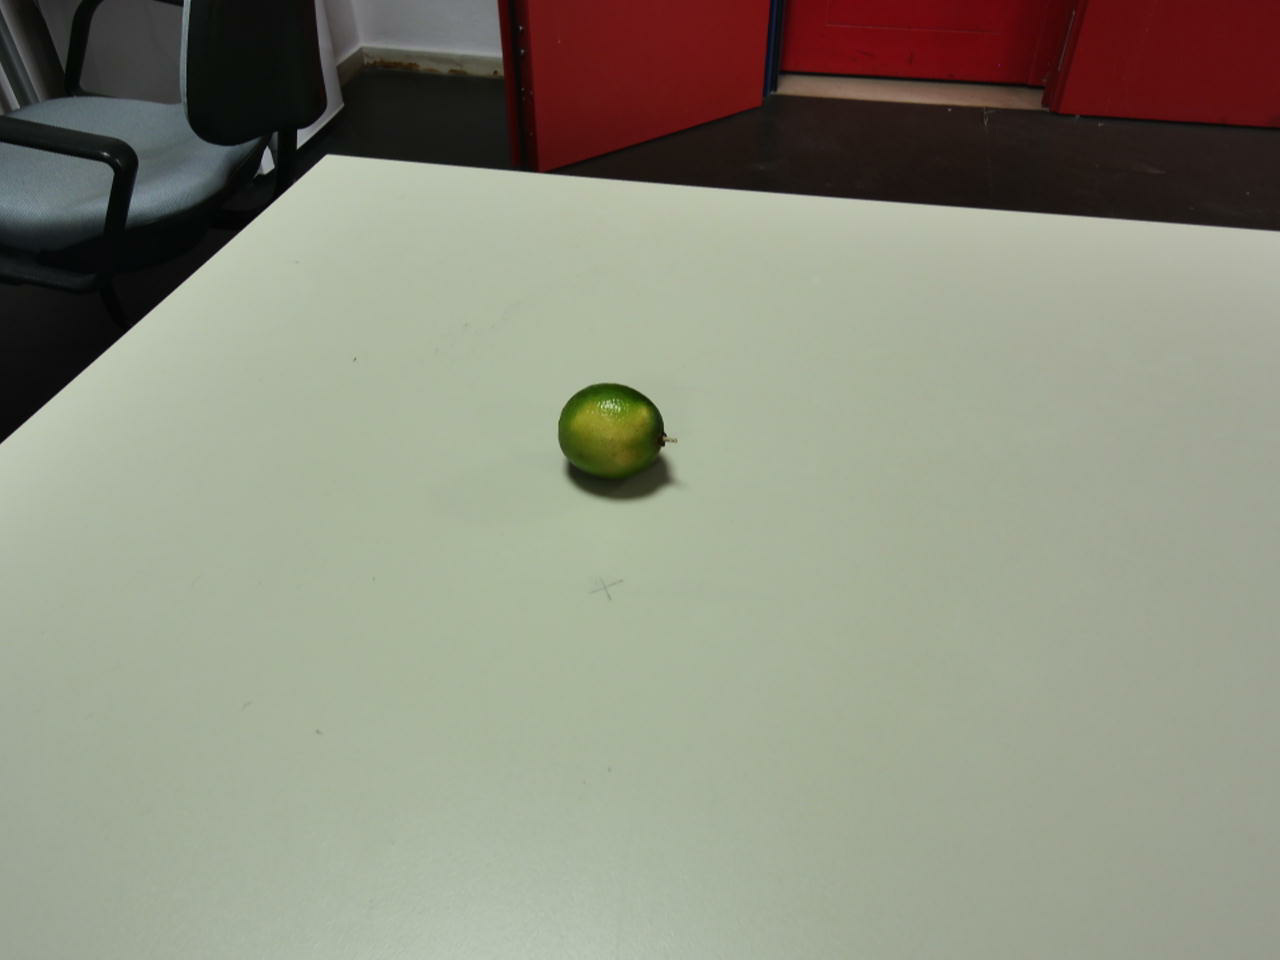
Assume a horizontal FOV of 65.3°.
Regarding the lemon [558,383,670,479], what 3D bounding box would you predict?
[{"bbox_3d":[-0.016,-0.027,0.538,0.054,0.050,0.055,-17,42,-21],"label":"lemon"}]
